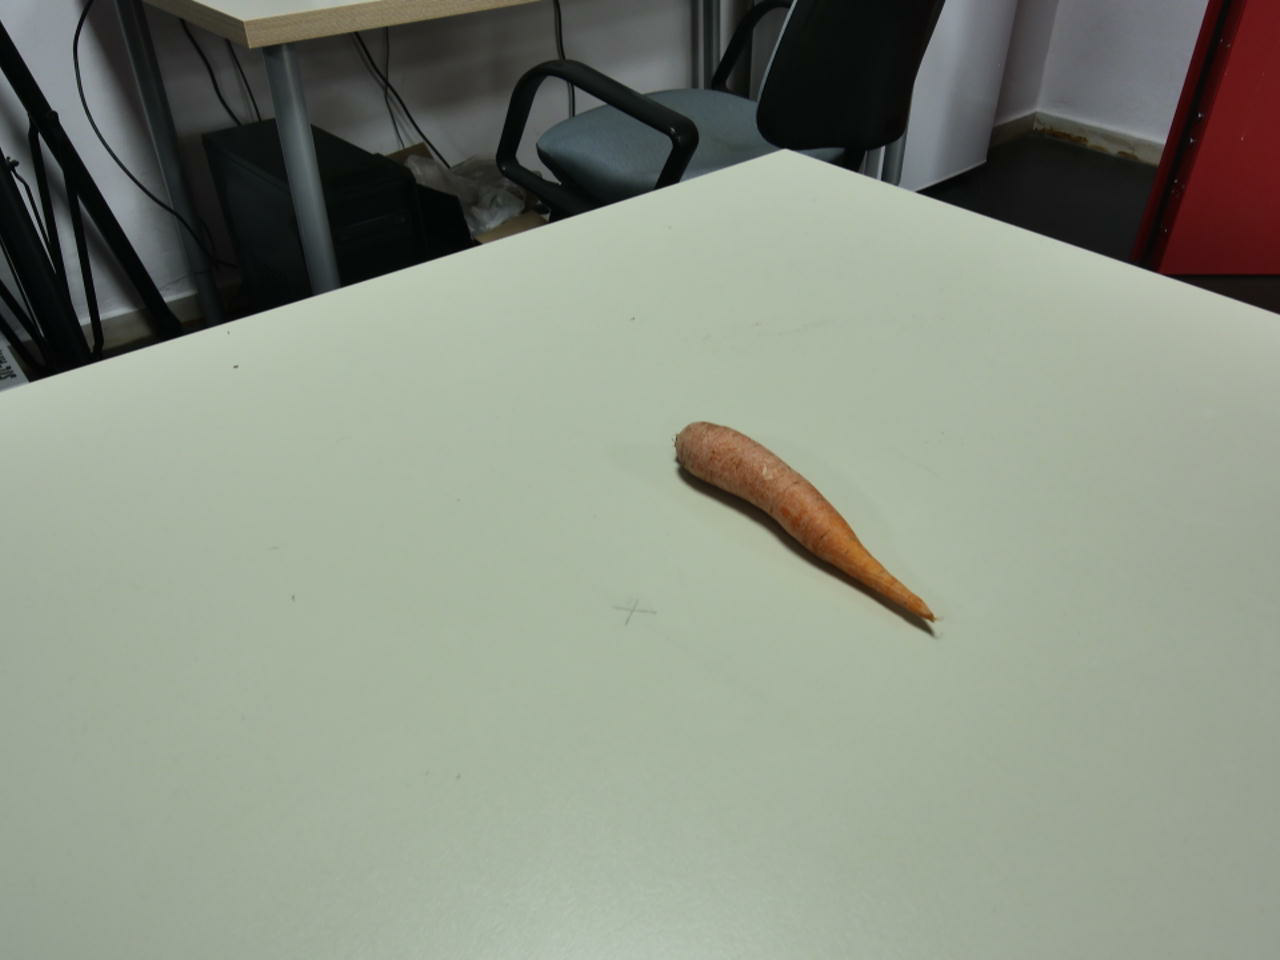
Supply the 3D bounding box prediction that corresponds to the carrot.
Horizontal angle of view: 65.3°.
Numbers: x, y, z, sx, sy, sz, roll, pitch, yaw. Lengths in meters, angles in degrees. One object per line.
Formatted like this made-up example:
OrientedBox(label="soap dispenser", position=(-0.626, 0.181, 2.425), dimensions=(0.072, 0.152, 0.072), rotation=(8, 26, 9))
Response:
OrientedBox(label="carrot", position=(0.072, 0.012, 0.450), dimensions=(0.031, 0.029, 0.163), rotation=(-24, 41, -30))
